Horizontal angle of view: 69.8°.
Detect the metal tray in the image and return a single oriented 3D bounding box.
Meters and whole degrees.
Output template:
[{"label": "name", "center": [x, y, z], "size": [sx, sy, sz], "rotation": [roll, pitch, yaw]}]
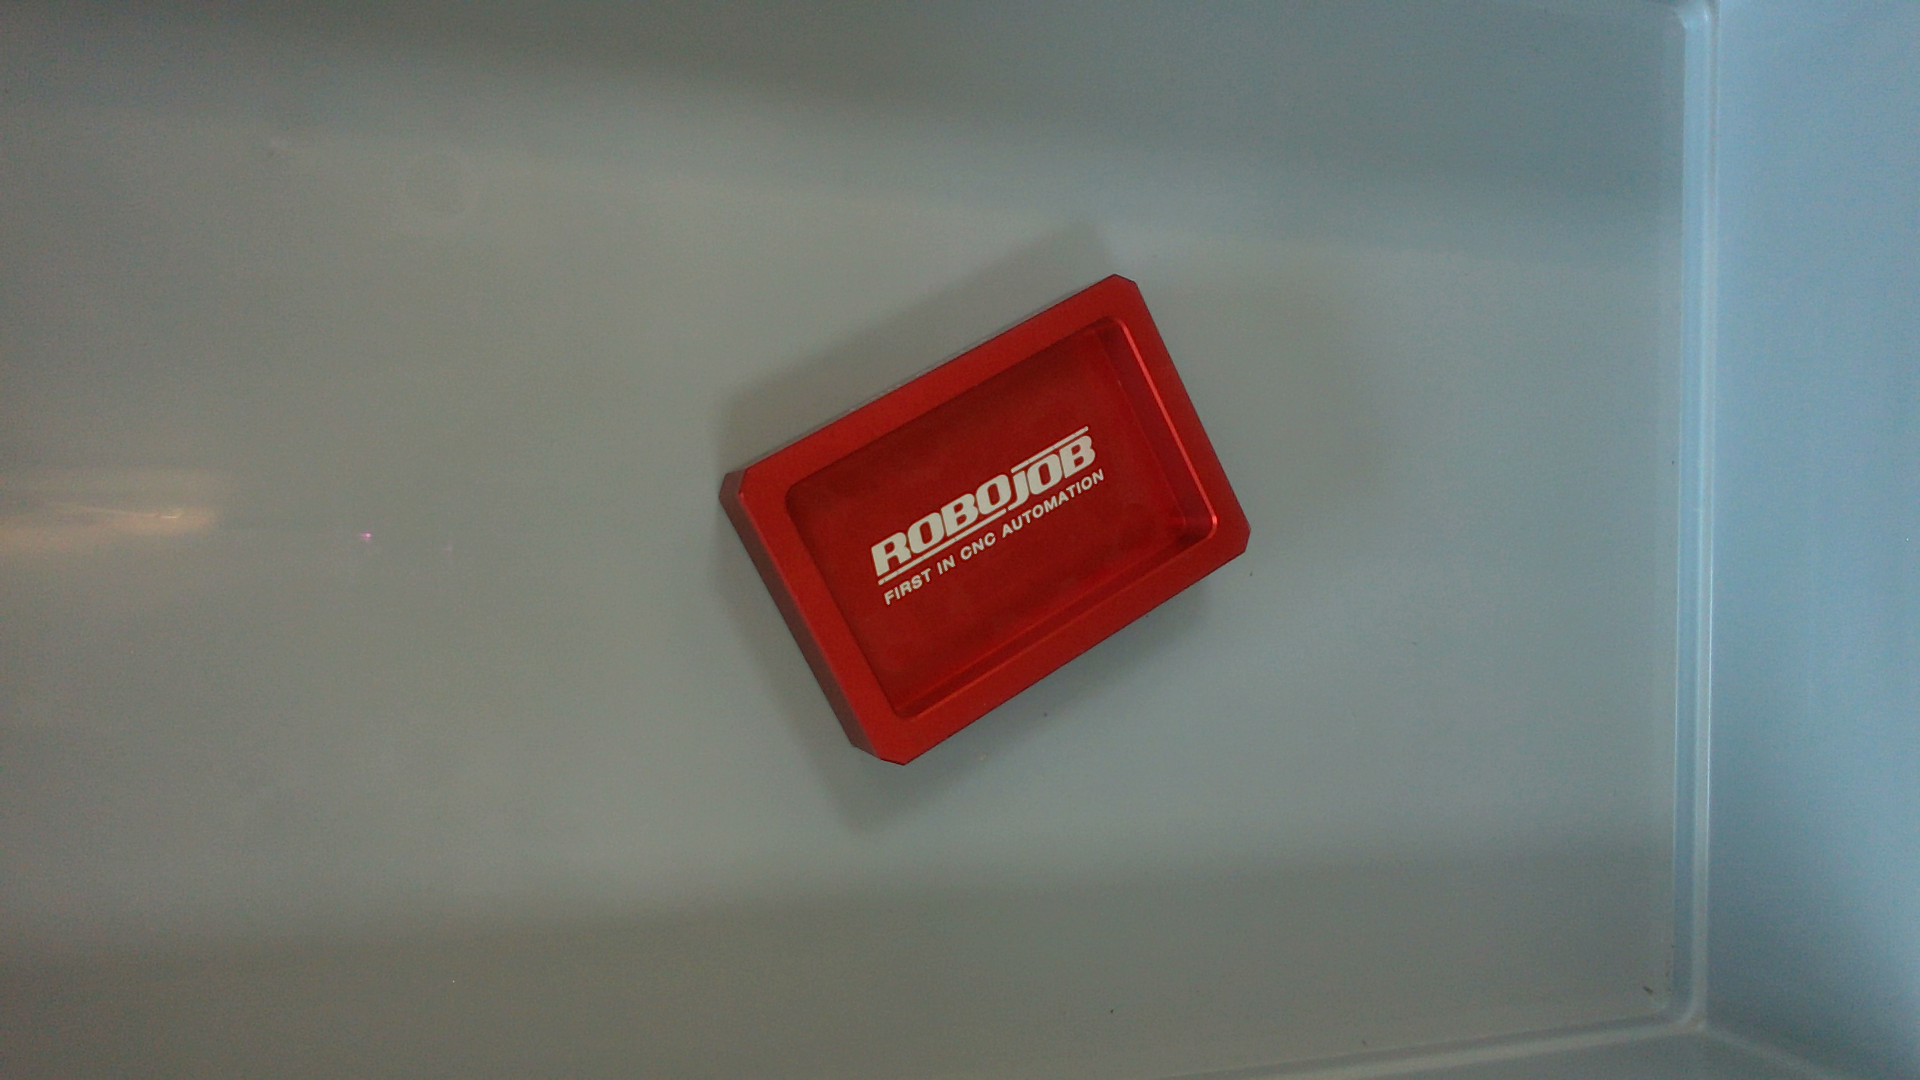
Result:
[{"label": "metal tray", "center": [0.010, -0.007, 0.391], "size": [0.130, 0.030, 0.090], "rotation": [-30, 100, -18]}]
